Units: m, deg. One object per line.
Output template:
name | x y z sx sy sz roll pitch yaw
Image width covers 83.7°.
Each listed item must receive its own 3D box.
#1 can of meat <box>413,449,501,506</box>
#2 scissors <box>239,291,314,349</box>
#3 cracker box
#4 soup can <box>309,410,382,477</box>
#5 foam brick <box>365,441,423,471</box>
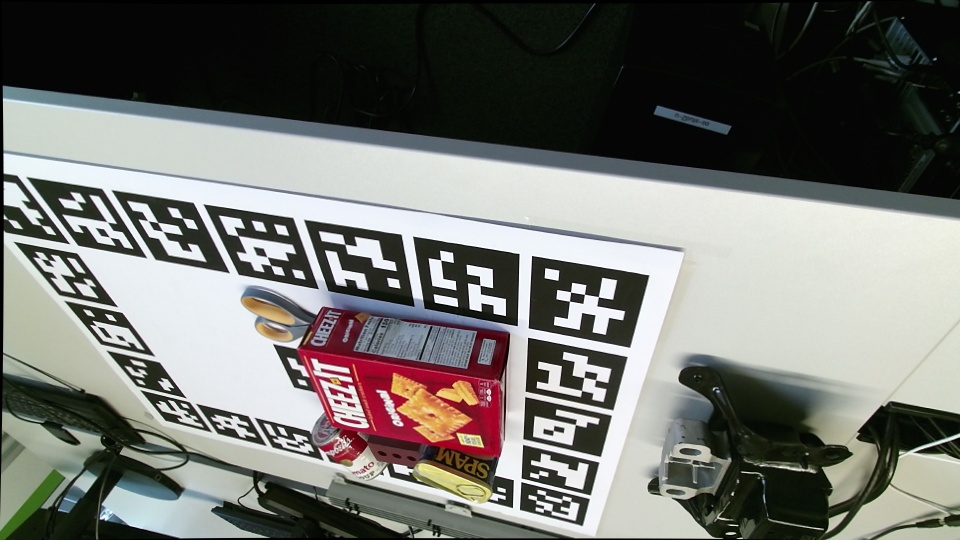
can of meat | -0.023 0.241 0.689 0.102 0.083 0.058 20 133 3
scissors | -0.181 0.067 0.624 0.203 0.016 0.088 6 131 15
cracker box | -0.077 0.132 0.602 0.214 0.072 0.164 3 132 12
soup can | -0.189 0.247 0.777 0.068 0.067 0.102 -24 124 34
foam brick | -0.110 0.238 0.743 0.078 0.051 0.053 1 129 19
